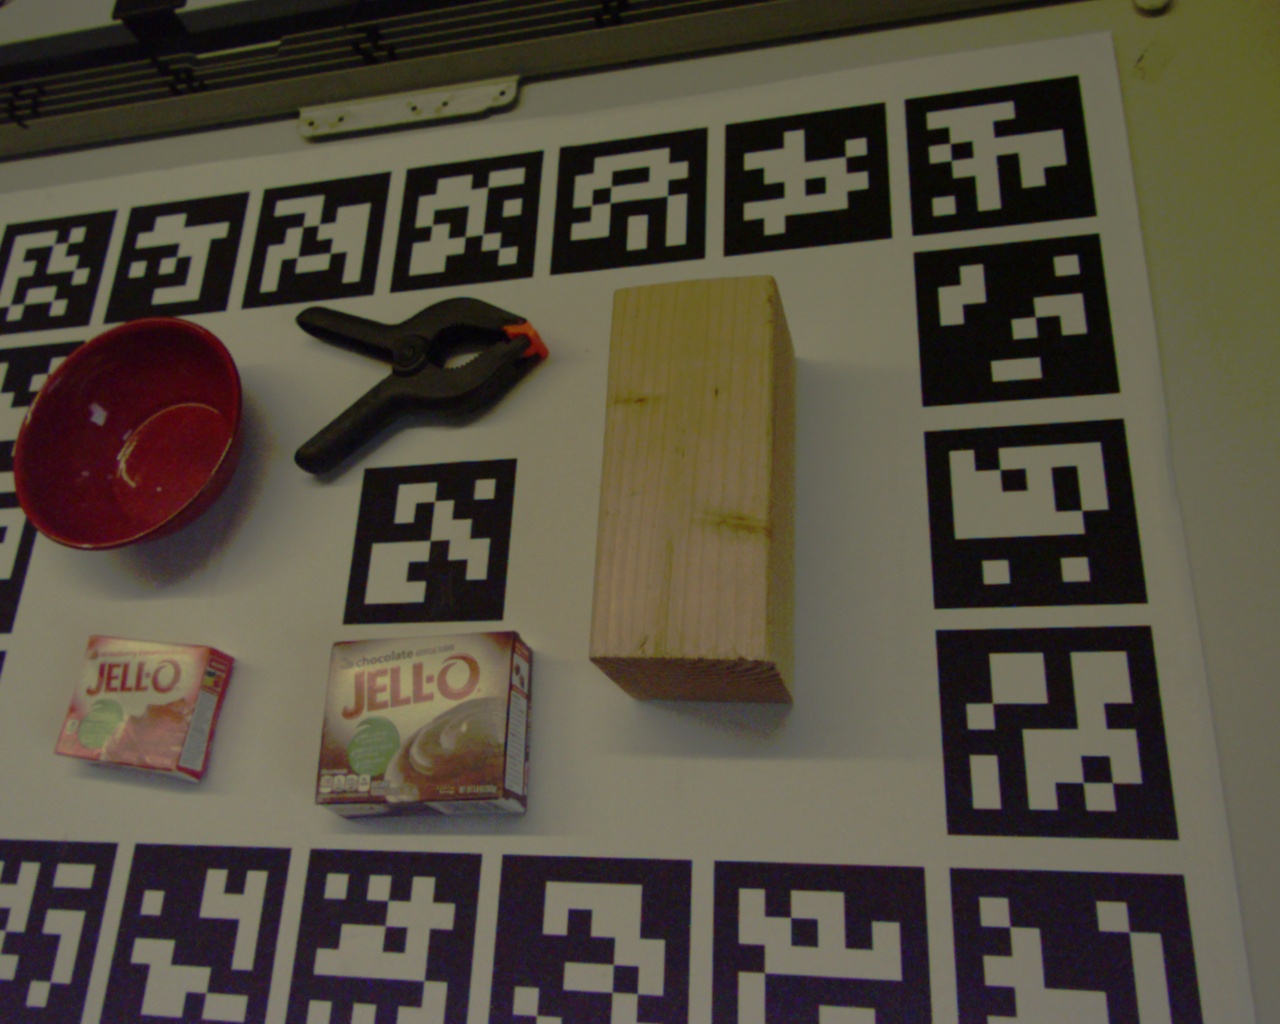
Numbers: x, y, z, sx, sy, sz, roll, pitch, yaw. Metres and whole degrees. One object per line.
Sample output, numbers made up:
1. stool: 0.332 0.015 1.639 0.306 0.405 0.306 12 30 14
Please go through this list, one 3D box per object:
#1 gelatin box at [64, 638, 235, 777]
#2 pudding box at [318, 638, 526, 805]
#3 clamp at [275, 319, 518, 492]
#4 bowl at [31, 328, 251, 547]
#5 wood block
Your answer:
1. gelatin box: -0.304 0.120 0.707 0.090 0.030 0.073 5 72 17
2. pudding box: -0.124 0.121 0.653 0.115 0.038 0.090 -4 72 16
3. clamp: -0.162 -0.084 0.754 0.166 0.036 0.122 -13 66 8
4. bowl: -0.324 -0.041 0.770 0.162 0.055 0.162 -5 71 13
5. wood block: 0.029 -0.005 0.631 0.090 0.090 0.206 0 69 14
